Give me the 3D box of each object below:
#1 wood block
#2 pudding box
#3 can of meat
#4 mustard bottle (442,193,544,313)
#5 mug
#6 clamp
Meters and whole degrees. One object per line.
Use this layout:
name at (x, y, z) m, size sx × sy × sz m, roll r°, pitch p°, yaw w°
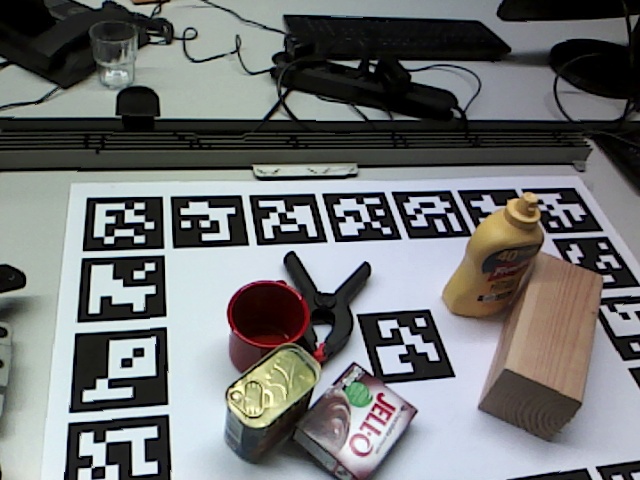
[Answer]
wood block at (0.276, 0.128, 0.759) m, size 0.090 × 0.091 × 0.206 m, roll 24°, pitch 45°, yaw 14°
pudding box at (0.042, 0.200, 0.674) m, size 0.090 × 0.038 × 0.113 m, roll 35°, pitch 49°, yaw 20°
can of meat at (-0.053, 0.168, 0.646) m, size 0.101 × 0.083 × 0.058 m, roll -28°, pitch 59°, yaw -32°
mustard bottle at (0.226, 0.015, 0.778) m, size 0.096 × 0.191 × 0.059 m, roll -6°, pitch 50°, yaw -16°
mug at (-0.066, 0.108, 0.740) m, size 0.093 × 0.081 × 0.117 m, roll 15°, pitch 48°, yaw 2°
clamp at (0.006, 0.079, 0.789) m, size 0.122 × 0.036 × 0.165 m, roll 13°, pitch 48°, yaw -1°
